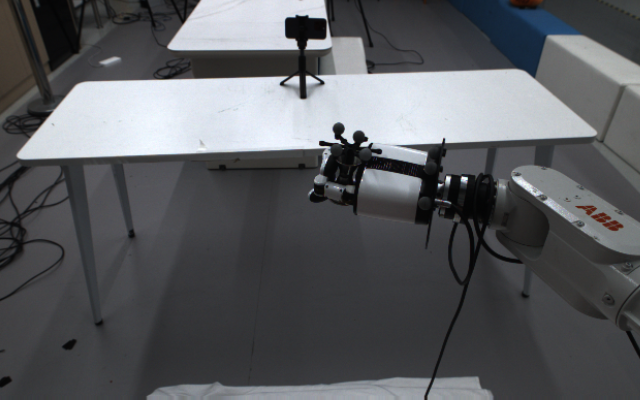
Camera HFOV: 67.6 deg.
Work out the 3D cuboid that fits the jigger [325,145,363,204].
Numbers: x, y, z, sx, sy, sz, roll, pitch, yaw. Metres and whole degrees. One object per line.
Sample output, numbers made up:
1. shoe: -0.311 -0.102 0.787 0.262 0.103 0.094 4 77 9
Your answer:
1. jigger: 0.038 -0.031 0.712 0.043 0.071 0.043 7 32 -4
